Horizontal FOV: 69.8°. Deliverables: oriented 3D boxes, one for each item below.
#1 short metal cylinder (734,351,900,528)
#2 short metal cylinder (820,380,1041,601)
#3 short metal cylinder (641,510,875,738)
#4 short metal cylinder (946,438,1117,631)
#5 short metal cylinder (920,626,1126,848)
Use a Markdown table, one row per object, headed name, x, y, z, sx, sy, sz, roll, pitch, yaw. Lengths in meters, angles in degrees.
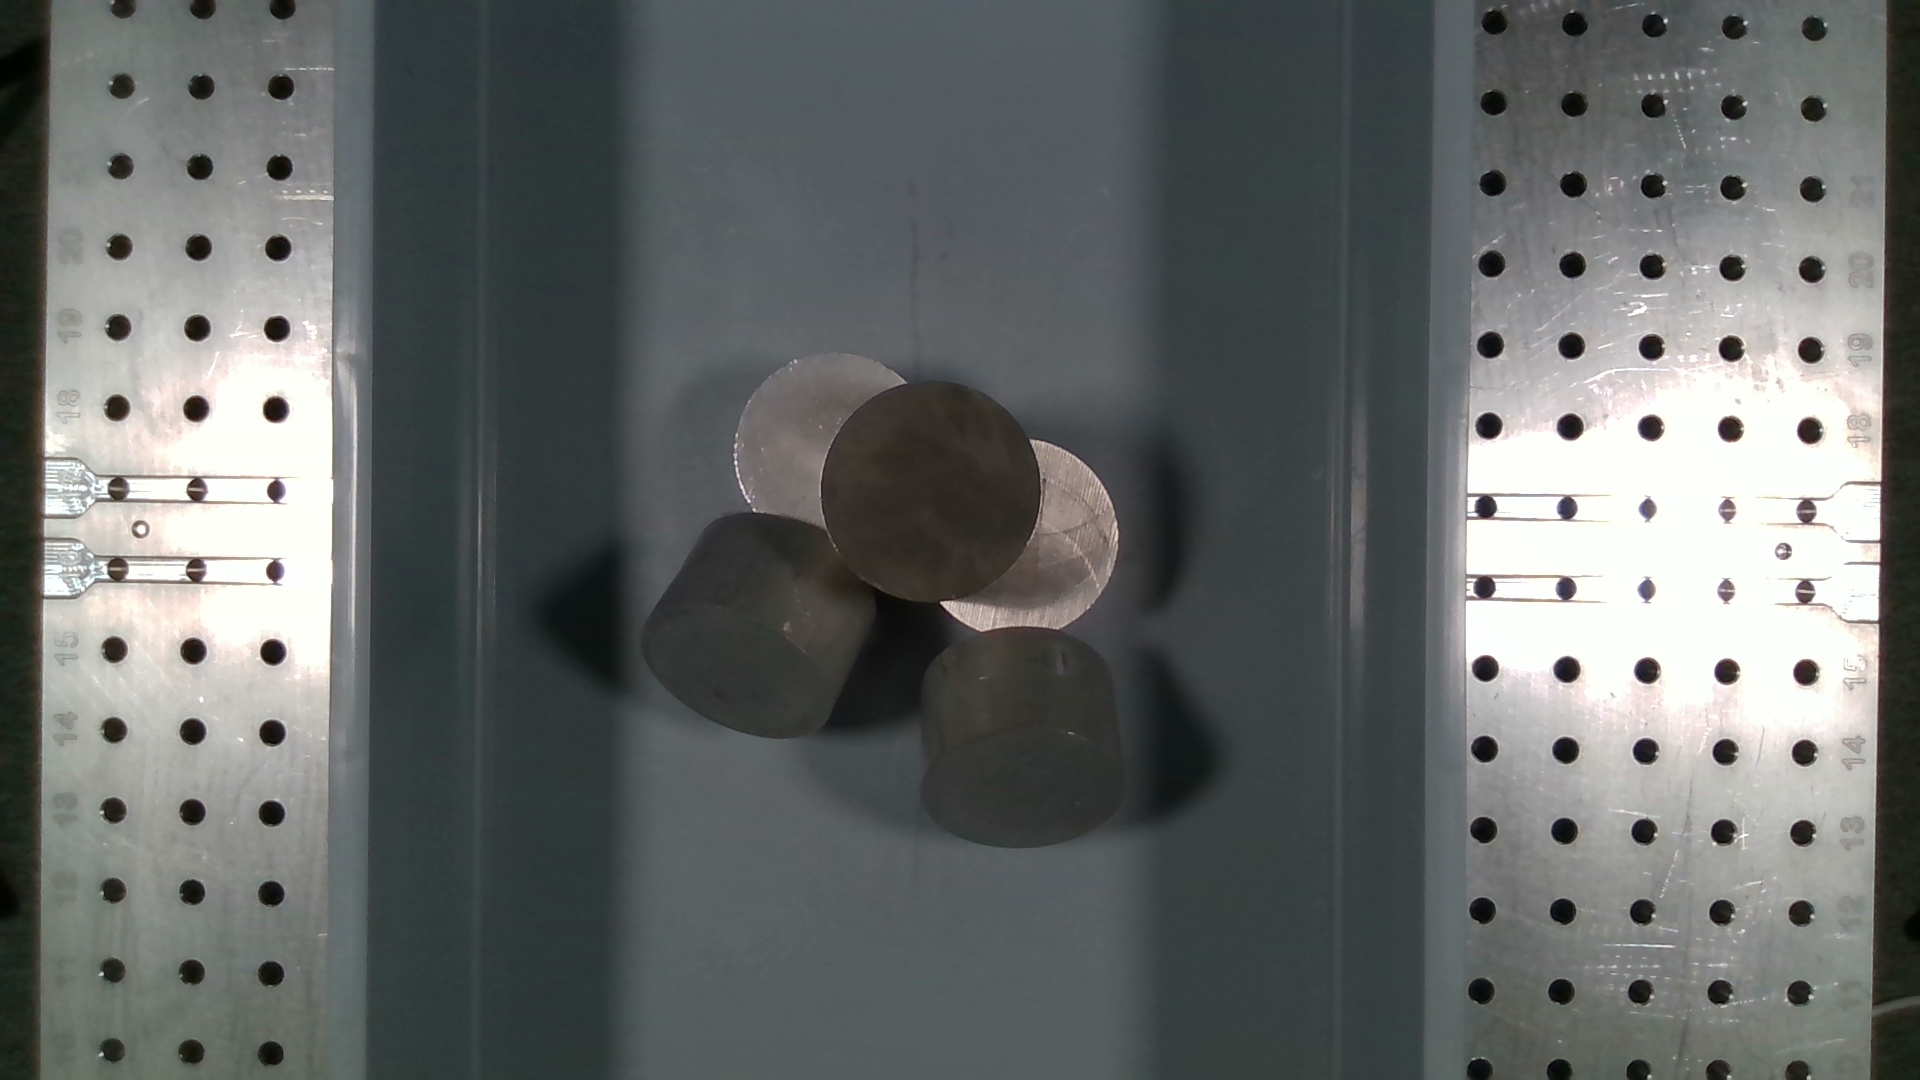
| name | x | y | z | sx | sy | sz | roll | pitch | yaw |
| --- | --- | --- | --- | --- | --- | --- | --- | --- | --- |
| short metal cylinder | -0.050 | -0.035 | 0.574 | 0.080 | 0.050 | 0.080 | 0 | 90 | 0 |
| short metal cylinder | -0.011 | -0.018 | 0.522 | 0.080 | 0.050 | 0.080 | 0 | 90 | 0 |
| short metal cylinder | -0.080 | 0.034 | 0.552 | 0.080 | 0.080 | 0.050 | 23 | 50 | 0 |
| short metal cylinder | 0.023 | -0.001 | 0.573 | 0.080 | 0.050 | 0.080 | 0 | 90 | 0 |
| short metal cylinder | 0.024 | 0.080 | 0.553 | 0.080 | 0.050 | 0.080 | -1 | 134 | -1 |
